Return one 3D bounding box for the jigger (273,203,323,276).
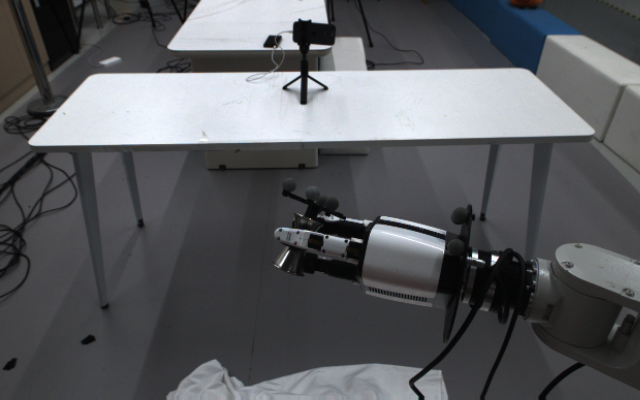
[{"bbox_3d":[-0.027,0.052,0.584,0.043,0.071,0.043,24,-3,1],"label":"jigger"}]
